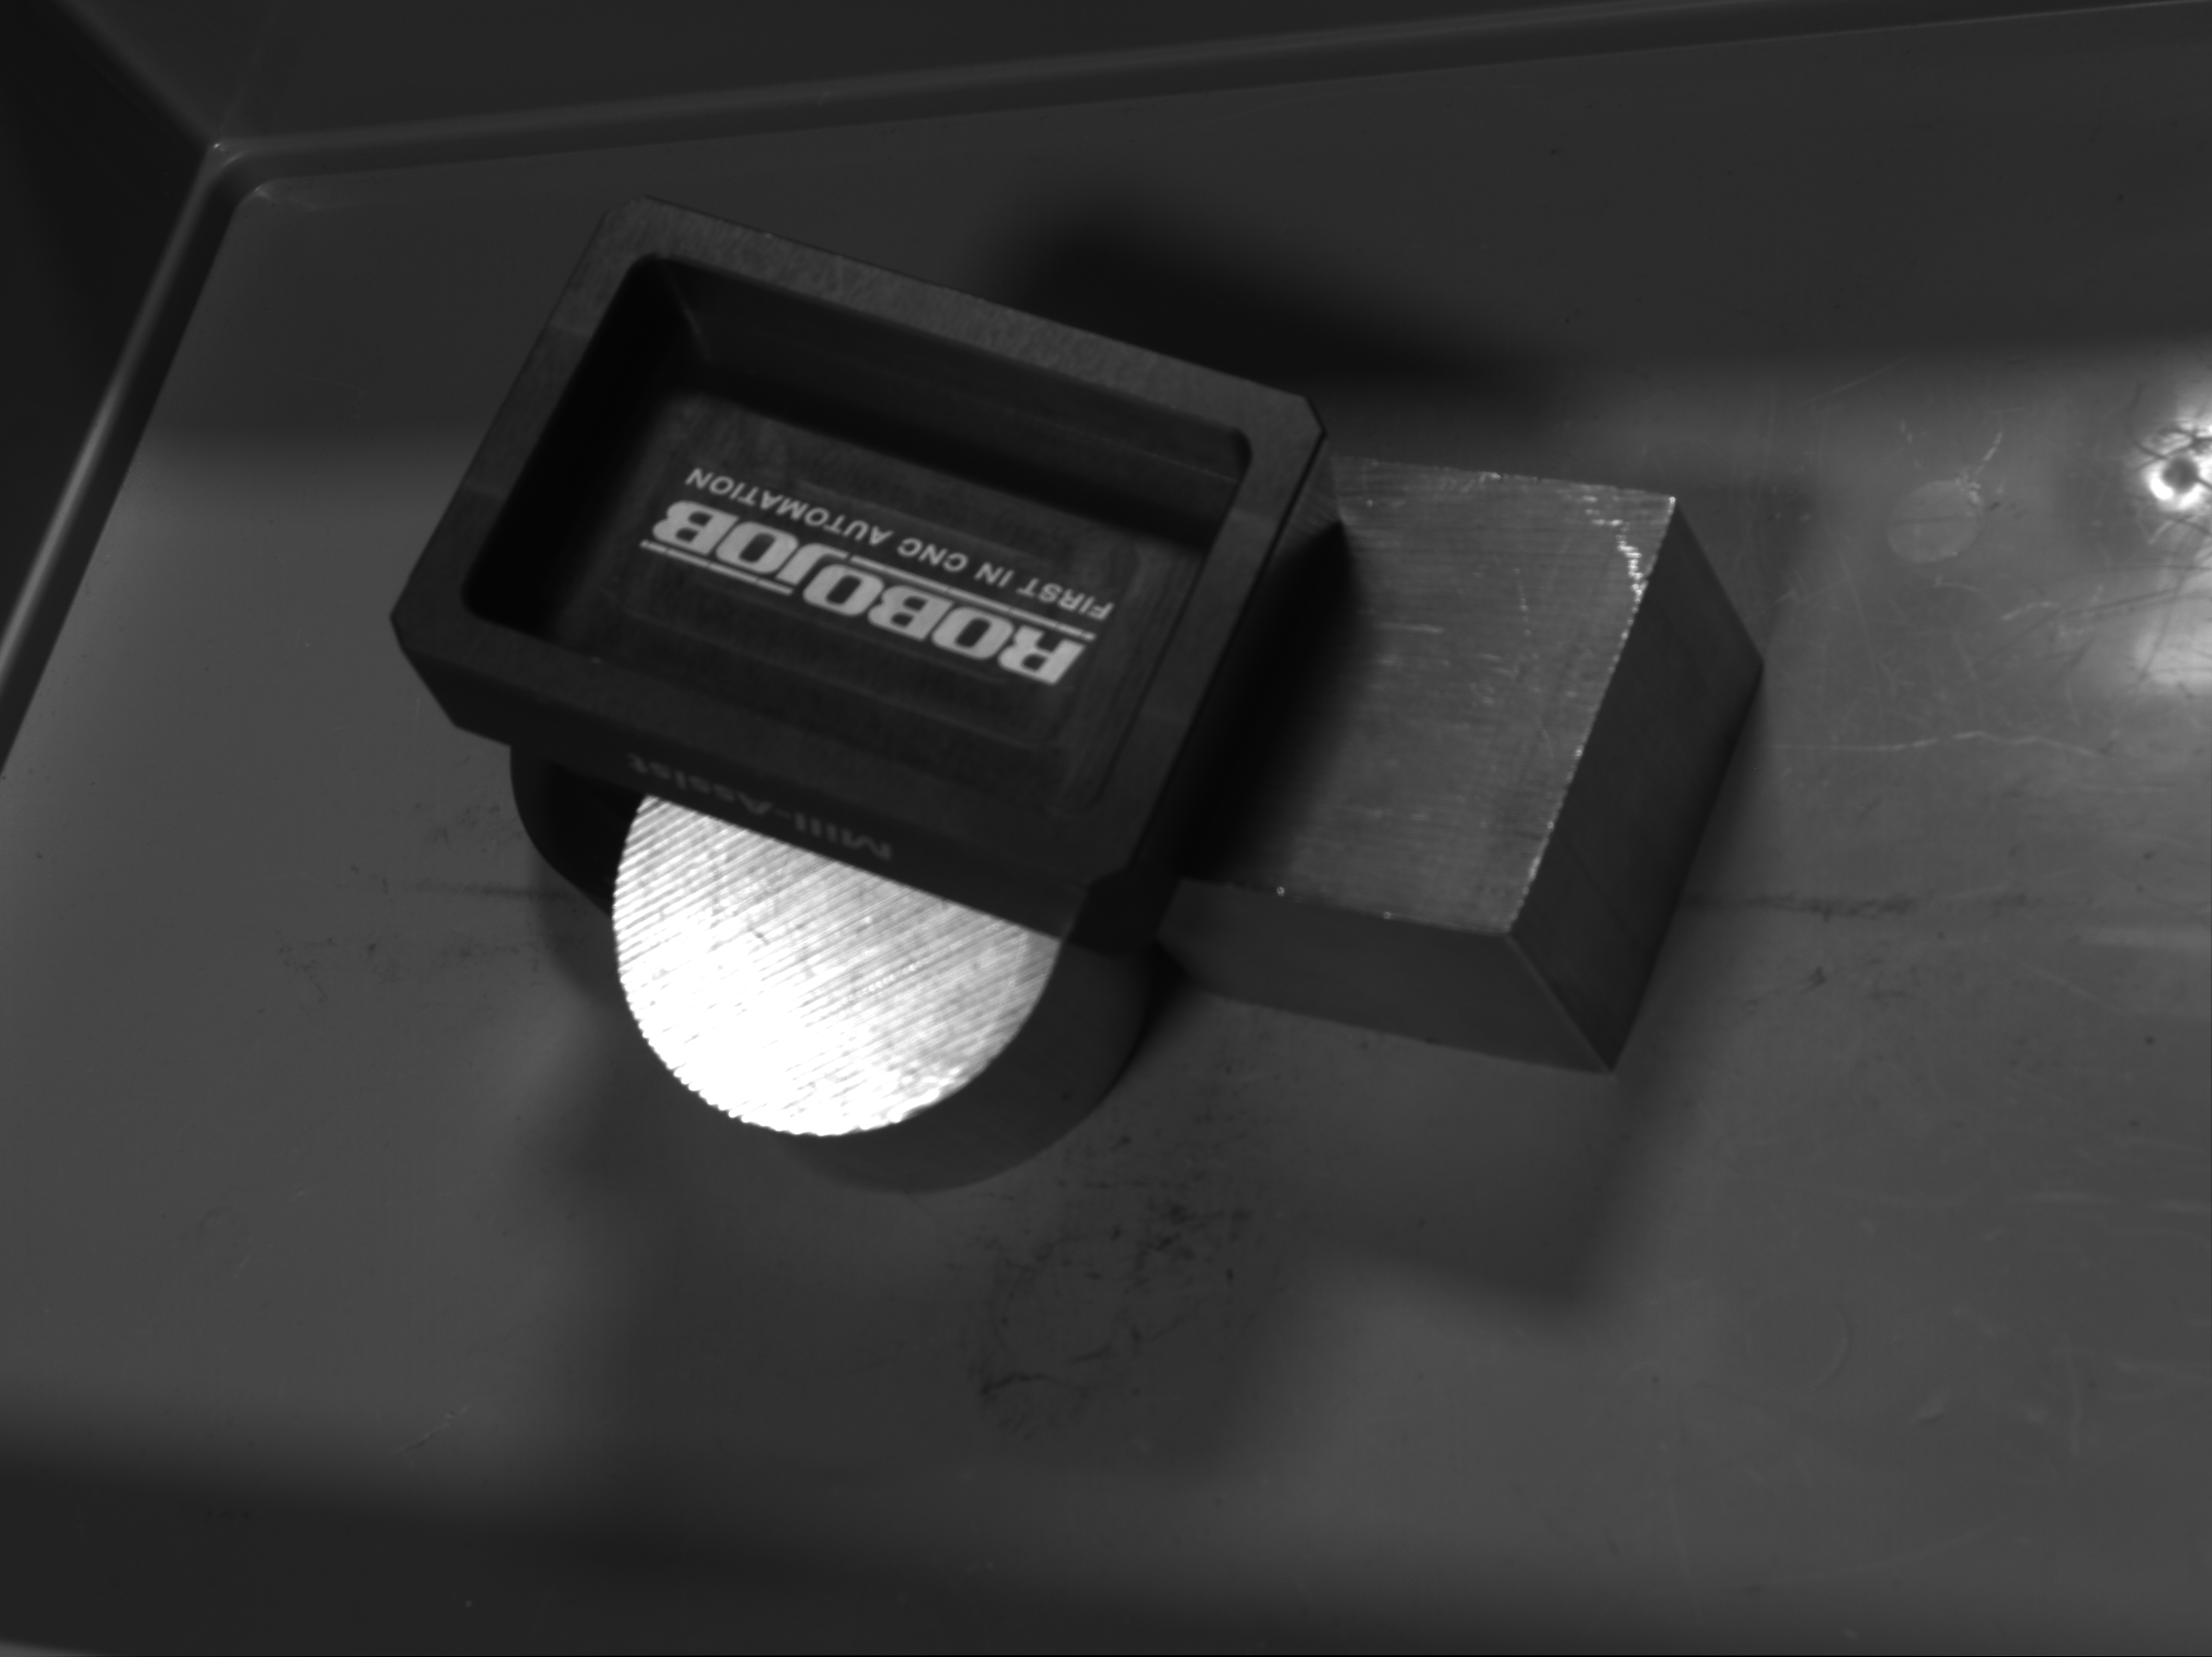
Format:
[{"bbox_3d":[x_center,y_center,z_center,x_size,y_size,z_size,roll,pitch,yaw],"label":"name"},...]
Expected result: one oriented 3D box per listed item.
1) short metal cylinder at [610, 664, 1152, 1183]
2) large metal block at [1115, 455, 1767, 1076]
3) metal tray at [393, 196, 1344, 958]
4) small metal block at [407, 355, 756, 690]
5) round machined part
[{"bbox_3d":[-0.037,0.016,0.622,0.080,0.050,0.080,-4,74,15],"label":"short metal cylinder"},{"bbox_3d":[0.053,-0.013,0.605,0.080,0.050,0.080,10,67,33],"label":"large metal block"},{"bbox_3d":[-0.037,-0.043,0.595,0.130,0.030,0.090,19,71,15],"label":"metal tray"},{"bbox_3d":[-0.090,-0.051,0.652,0.025,0.050,0.050,13,68,34],"label":"small metal block"},{"bbox_3d":[-0.070,-0.029,0.687,0.098,0.042,0.098,-13,56,21],"label":"round machined part"}]
